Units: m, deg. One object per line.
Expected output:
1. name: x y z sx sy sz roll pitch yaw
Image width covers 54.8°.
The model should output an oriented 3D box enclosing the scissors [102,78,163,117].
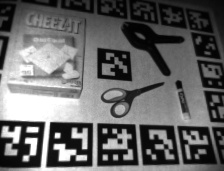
1. scissors: 0.067 0.013 0.601 0.204 0.016 0.087 -24 74 -26

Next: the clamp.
1. clamp: 0.111 -0.153 0.692 0.203 0.036 0.166 32 61 -1

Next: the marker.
1. marker: 0.206 0.028 0.634 0.020 0.019 0.120 1 66 -14

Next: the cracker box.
1. cracker box: -0.155 -0.087 0.554 0.165 0.072 0.213 6 66 -13
